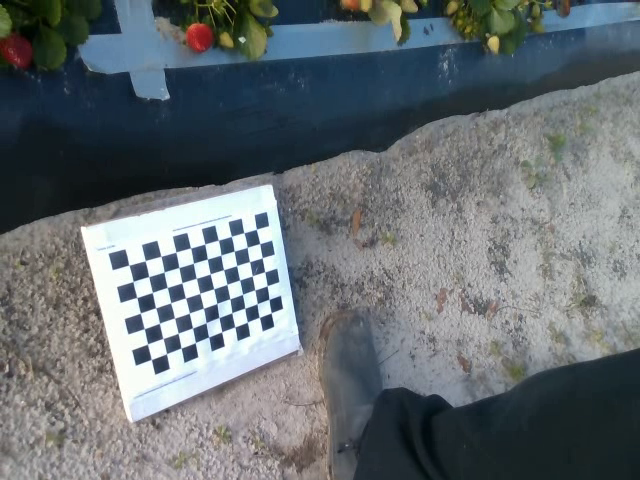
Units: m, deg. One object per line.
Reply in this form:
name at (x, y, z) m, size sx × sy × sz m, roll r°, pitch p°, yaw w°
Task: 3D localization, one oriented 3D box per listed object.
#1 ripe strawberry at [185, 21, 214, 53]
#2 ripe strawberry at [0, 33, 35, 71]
ripe strawberry at (-0.078, -0.134, 0.423) m, size 0.023 × 0.026 × 0.020 m, roll -5°, pitch -35°, yaw -13°
ripe strawberry at (-0.168, -0.104, 0.350) m, size 0.018 × 0.022 × 0.021 m, roll -23°, pitch -13°, yaw -17°
